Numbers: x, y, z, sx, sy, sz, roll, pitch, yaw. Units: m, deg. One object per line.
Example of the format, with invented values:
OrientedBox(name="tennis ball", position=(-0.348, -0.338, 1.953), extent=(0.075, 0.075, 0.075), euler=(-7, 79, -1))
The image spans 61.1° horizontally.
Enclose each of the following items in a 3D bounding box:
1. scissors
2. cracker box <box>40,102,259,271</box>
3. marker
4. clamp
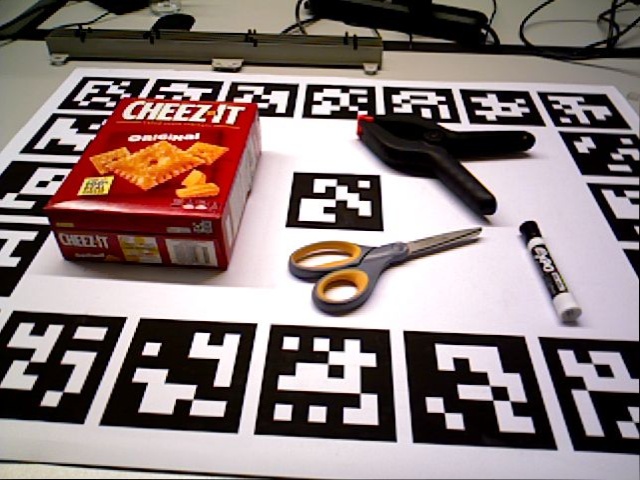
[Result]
OrientedBox(name="scissors", position=(0.068, 0.014, 0.511), extent=(0.199, 0.016, 0.087), euler=(-16, 43, -21))
OrientedBox(name="cracker box", position=(-0.160, -0.067, 0.564), extent=(0.164, 0.073, 0.209), euler=(3, 42, 3))
OrientedBox(name="marker", position=(0.210, 0.022, 0.501), extent=(0.019, 0.020, 0.119), euler=(-1, 41, -1))
OrientedBox(name="clamp", position=(0.125, -0.102, 0.650), extent=(0.203, 0.037, 0.161), euler=(24, 45, 23))
